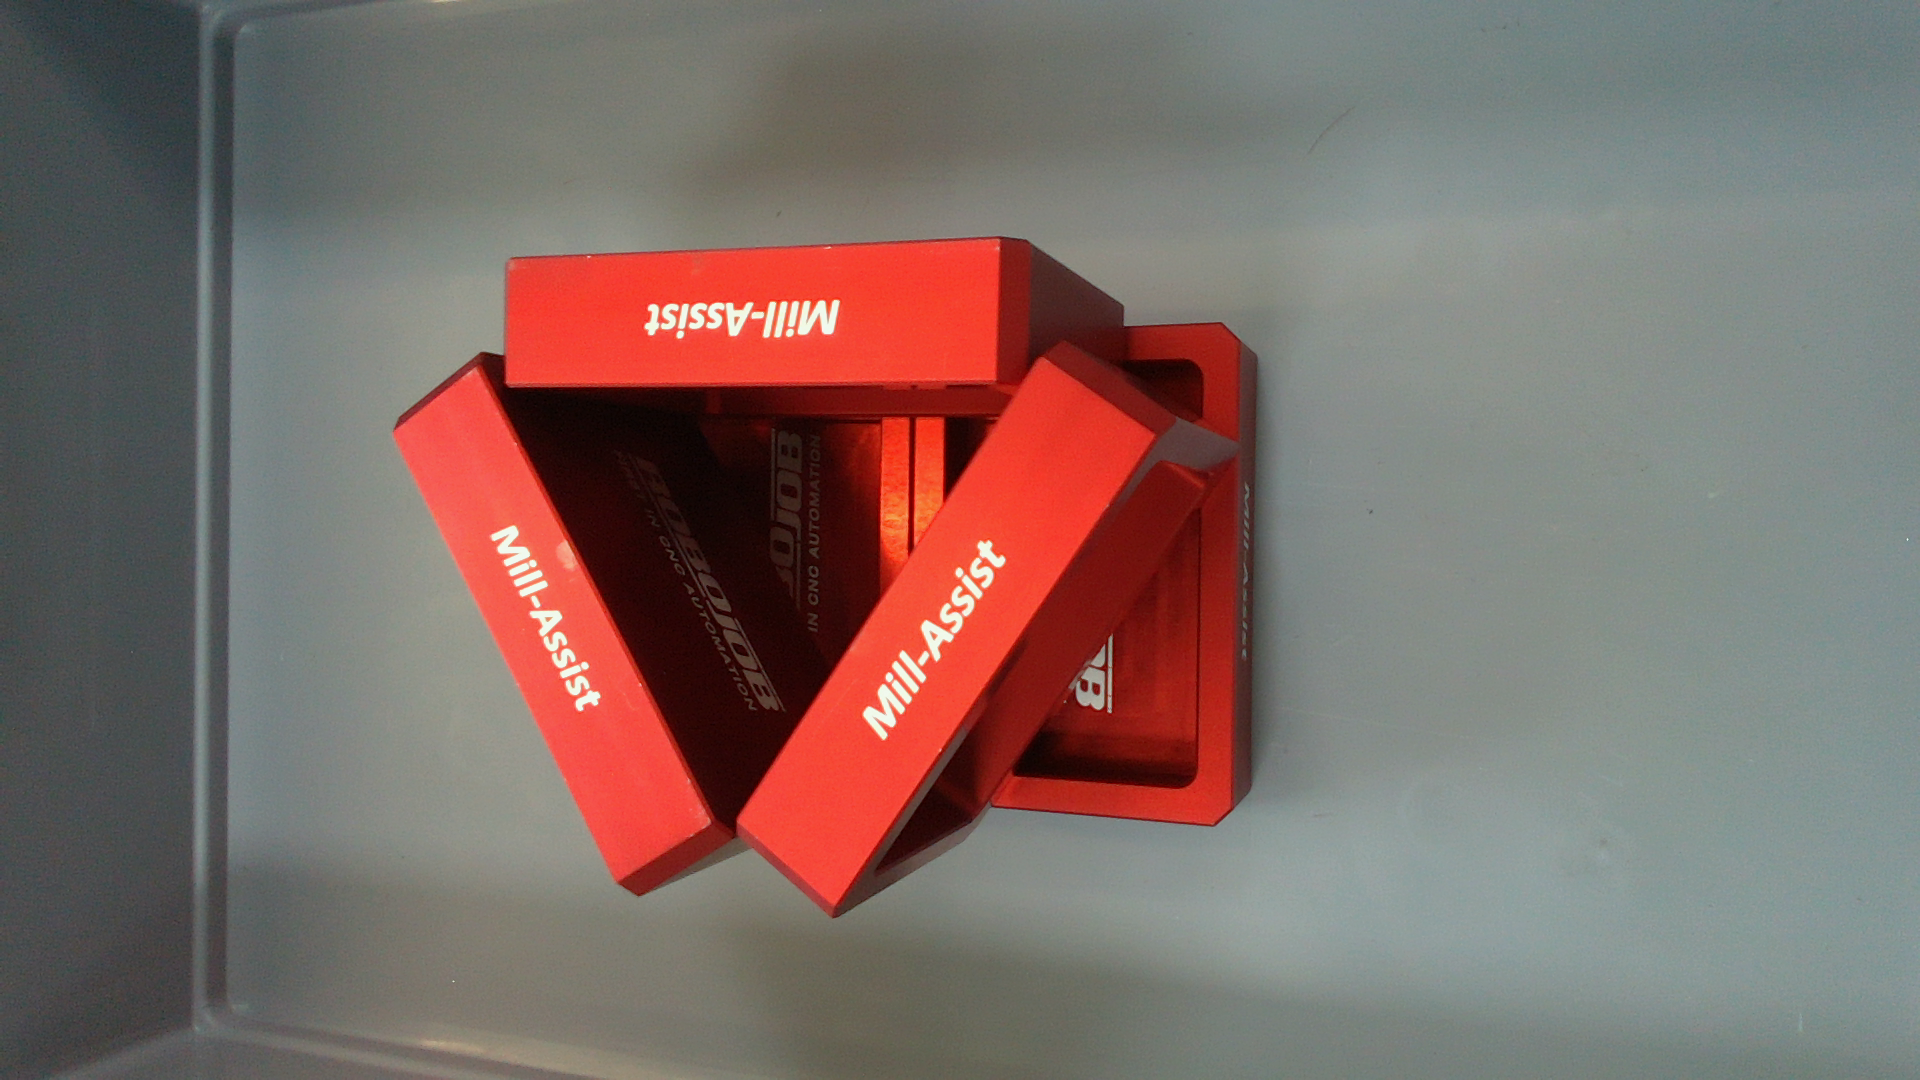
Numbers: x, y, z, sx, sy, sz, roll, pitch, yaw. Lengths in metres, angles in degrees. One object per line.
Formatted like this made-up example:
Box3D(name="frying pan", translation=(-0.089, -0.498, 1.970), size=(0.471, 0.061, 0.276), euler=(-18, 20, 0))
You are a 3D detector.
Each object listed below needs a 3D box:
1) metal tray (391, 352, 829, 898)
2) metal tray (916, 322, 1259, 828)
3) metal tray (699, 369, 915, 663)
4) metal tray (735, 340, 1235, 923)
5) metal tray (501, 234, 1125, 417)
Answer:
Box3D(name="metal tray", translation=(-0.080, 0.018, 0.356), size=(0.030, 0.090, 0.130), euler=(-33, 79, 18))
Box3D(name="metal tray", translation=(0.034, 0.008, 0.380), size=(0.090, 0.030, 0.130), euler=(1, 90, 20))
Box3D(name="metal tray", translation=(-0.051, 0.006, 0.412), size=(0.090, 0.030, 0.130), euler=(0, 89, 20))
Box3D(name="metal tray", translation=(0.010, 0.021, 0.323), size=(0.030, 0.090, 0.130), euler=(37, 102, 16))
Box3D(name="metal tray", translation=(-0.033, -0.049, 0.339), size=(0.130, 0.090, 0.030), euler=(2, 91, 20))
